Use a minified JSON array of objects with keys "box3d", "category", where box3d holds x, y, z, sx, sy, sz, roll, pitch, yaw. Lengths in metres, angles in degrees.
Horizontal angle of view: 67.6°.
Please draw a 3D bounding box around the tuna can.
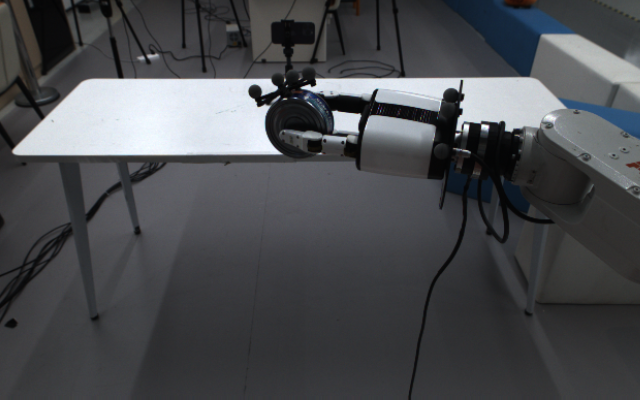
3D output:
[{"box3d":[-0.024,-0.092,0.626,0.085,0.085,0.034,11,34,13],"category":"tuna can"}]
